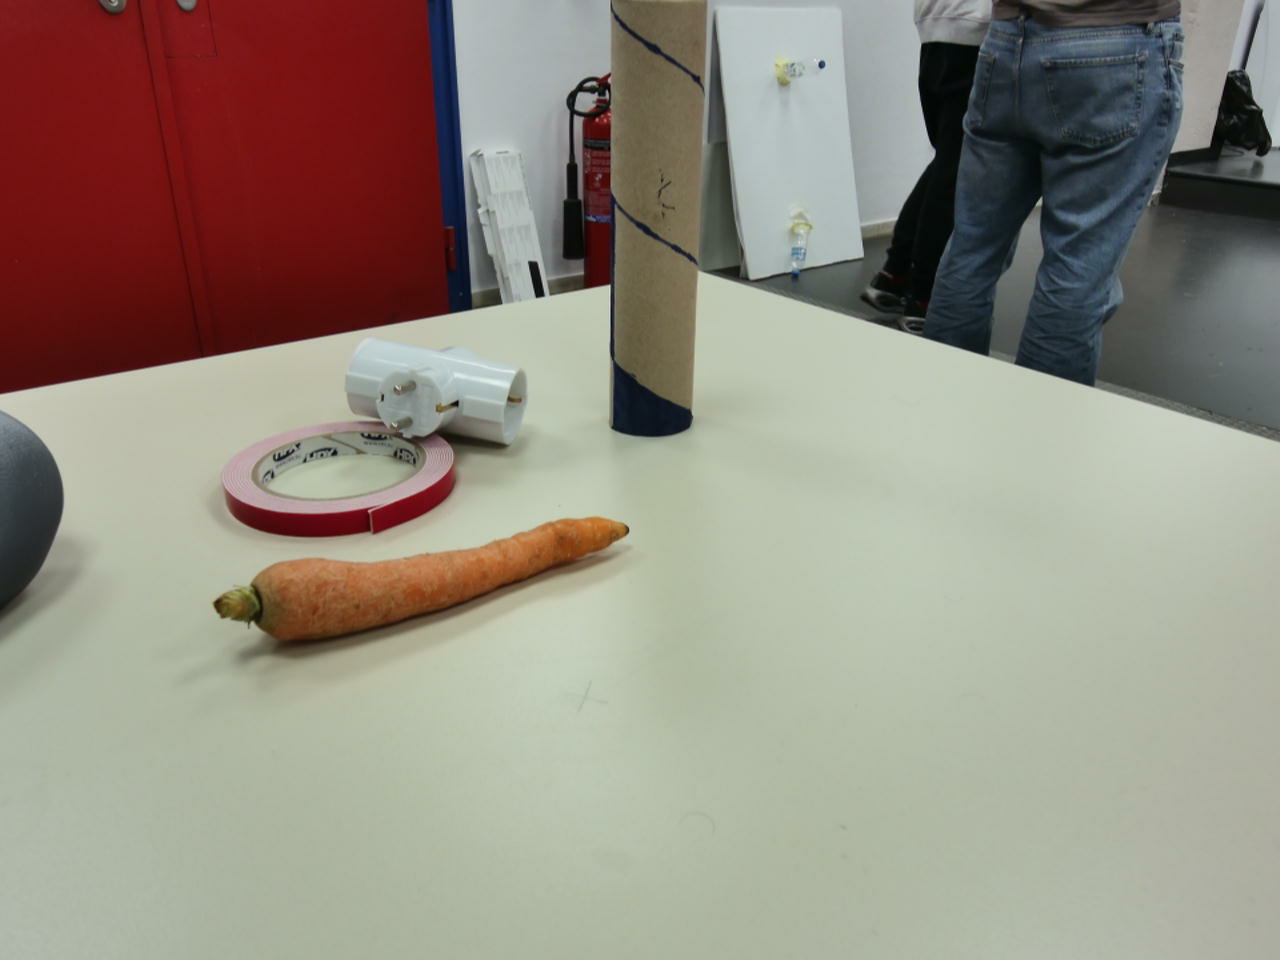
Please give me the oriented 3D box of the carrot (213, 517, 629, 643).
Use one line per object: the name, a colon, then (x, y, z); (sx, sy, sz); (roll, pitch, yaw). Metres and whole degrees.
carrot: (-0.076, 0.034, 0.396); (0.173, 0.032, 0.030); (-12, 27, -27)
